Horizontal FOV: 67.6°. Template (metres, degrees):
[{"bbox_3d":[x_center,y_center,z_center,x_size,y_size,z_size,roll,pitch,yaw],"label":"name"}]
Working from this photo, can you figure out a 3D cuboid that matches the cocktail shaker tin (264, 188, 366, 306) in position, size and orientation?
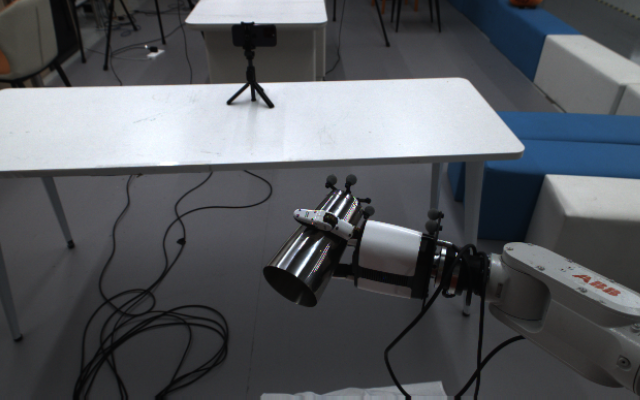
[{"bbox_3d":[0.001,0.060,0.729,0.093,0.093,0.170,19,55,23],"label":"cocktail shaker tin"}]
